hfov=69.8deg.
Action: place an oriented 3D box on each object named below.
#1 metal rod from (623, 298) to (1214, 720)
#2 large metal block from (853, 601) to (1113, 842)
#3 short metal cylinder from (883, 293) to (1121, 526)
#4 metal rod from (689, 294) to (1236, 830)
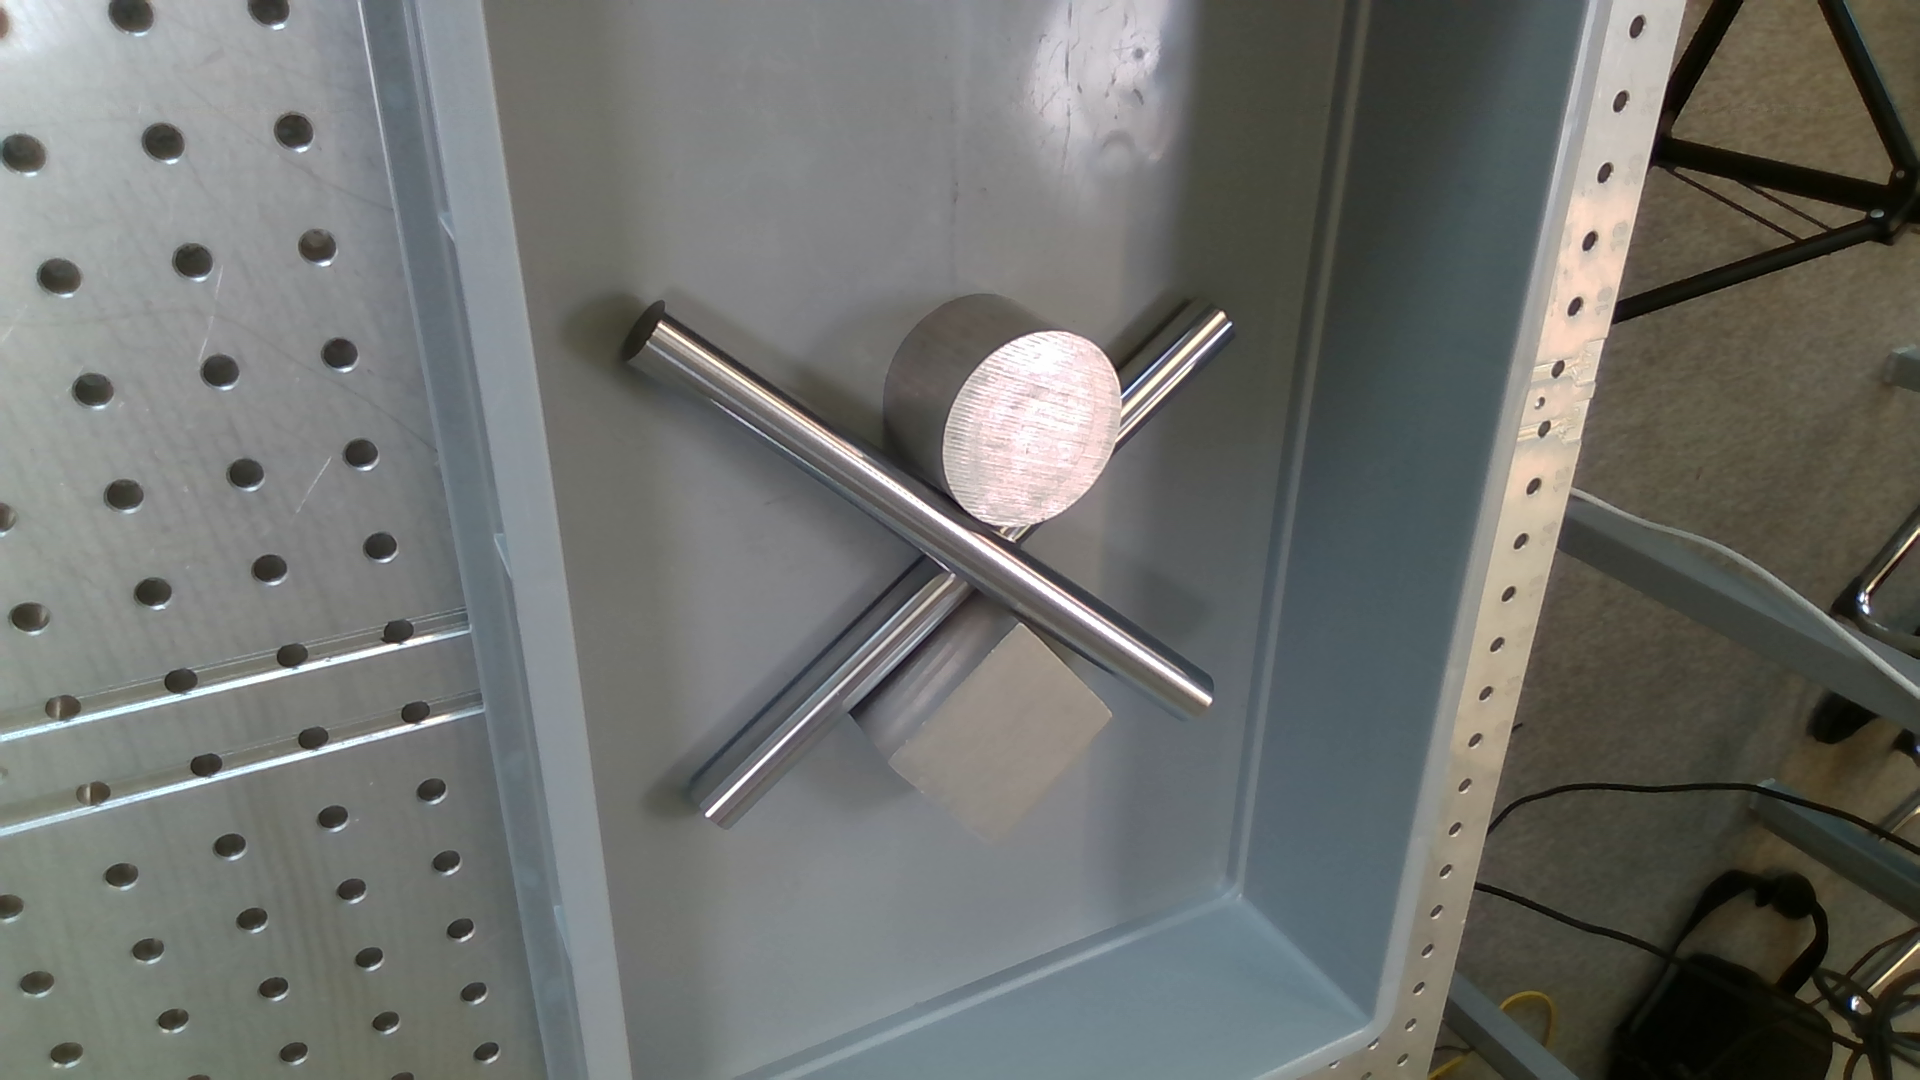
[{"bbox_3d":[-0.001,-0.001,0.551,0.301,0.025,0.025,34,95,-31],"label":"metal rod"},{"bbox_3d":[0.007,0.073,0.606,0.080,0.050,0.080,-46,129,-2],"label":"large metal block"},{"bbox_3d":[0.017,-0.052,0.545,0.080,0.050,0.080,-14,122,-25],"label":"short metal cylinder"},{"bbox_3d":[0.003,0.008,0.584,0.300,0.025,0.025,-44,129,-4],"label":"metal rod"}]
